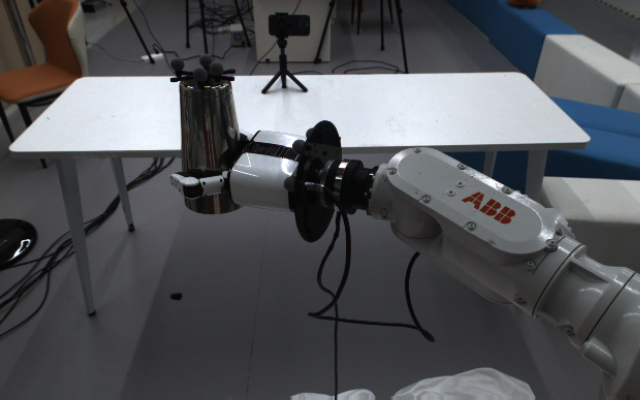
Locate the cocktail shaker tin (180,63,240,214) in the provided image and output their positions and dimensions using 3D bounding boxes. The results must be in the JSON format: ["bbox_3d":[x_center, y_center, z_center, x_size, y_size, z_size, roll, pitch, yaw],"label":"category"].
[{"bbox_3d":[-0.148,-0.077,0.660,0.093,0.170,0.093,0,28,0],"label":"cocktail shaker tin"}]
